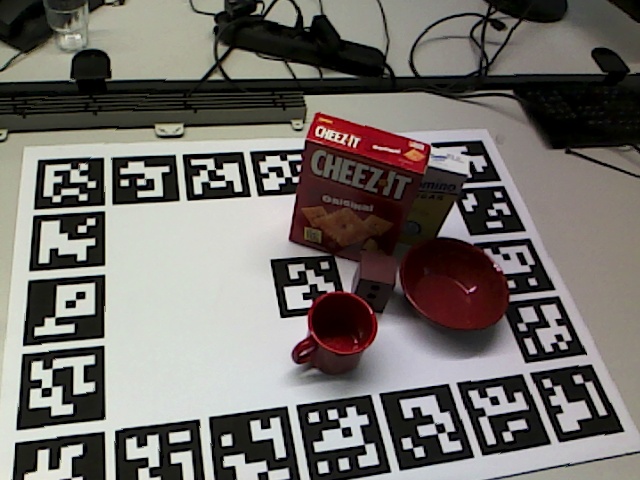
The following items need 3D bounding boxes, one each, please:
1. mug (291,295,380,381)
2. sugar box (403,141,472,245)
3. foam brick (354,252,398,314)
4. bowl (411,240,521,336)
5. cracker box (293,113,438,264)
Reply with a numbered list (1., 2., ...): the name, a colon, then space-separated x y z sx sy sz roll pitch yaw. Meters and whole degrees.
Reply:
1. mug: 0.018 0.137 0.825 0.117 0.081 0.094 -12 48 -16
2. sugar box: 0.161 -0.066 0.947 0.093 0.176 0.045 14 52 1
3. foam brick: 0.081 0.064 0.904 0.053 0.078 0.051 9 51 -2
4. bowl: 0.206 0.079 0.907 0.161 0.055 0.162 4 53 -6
5. cracker box: 0.058 -0.059 0.903 0.164 0.213 0.072 21 50 6
